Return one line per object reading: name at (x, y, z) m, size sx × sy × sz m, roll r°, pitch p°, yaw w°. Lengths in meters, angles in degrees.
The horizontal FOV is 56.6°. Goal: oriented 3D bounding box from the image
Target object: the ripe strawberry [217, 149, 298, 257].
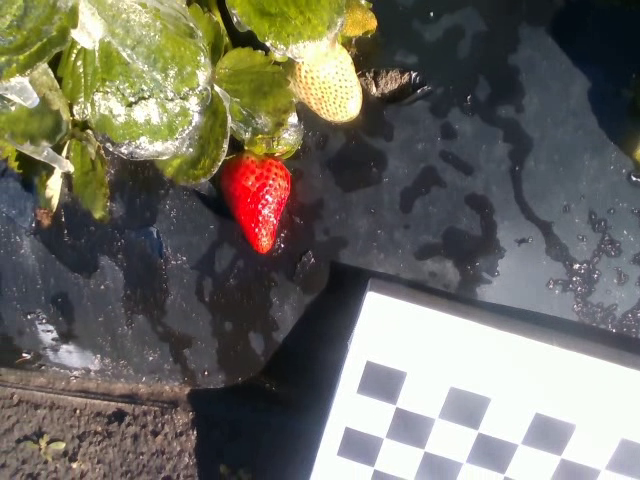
ripe strawberry at (-0.034, -0.014, 0.305) m, size 0.041 × 0.052 × 0.040 m, roll 0°, pitch 14°, yaw 8°
